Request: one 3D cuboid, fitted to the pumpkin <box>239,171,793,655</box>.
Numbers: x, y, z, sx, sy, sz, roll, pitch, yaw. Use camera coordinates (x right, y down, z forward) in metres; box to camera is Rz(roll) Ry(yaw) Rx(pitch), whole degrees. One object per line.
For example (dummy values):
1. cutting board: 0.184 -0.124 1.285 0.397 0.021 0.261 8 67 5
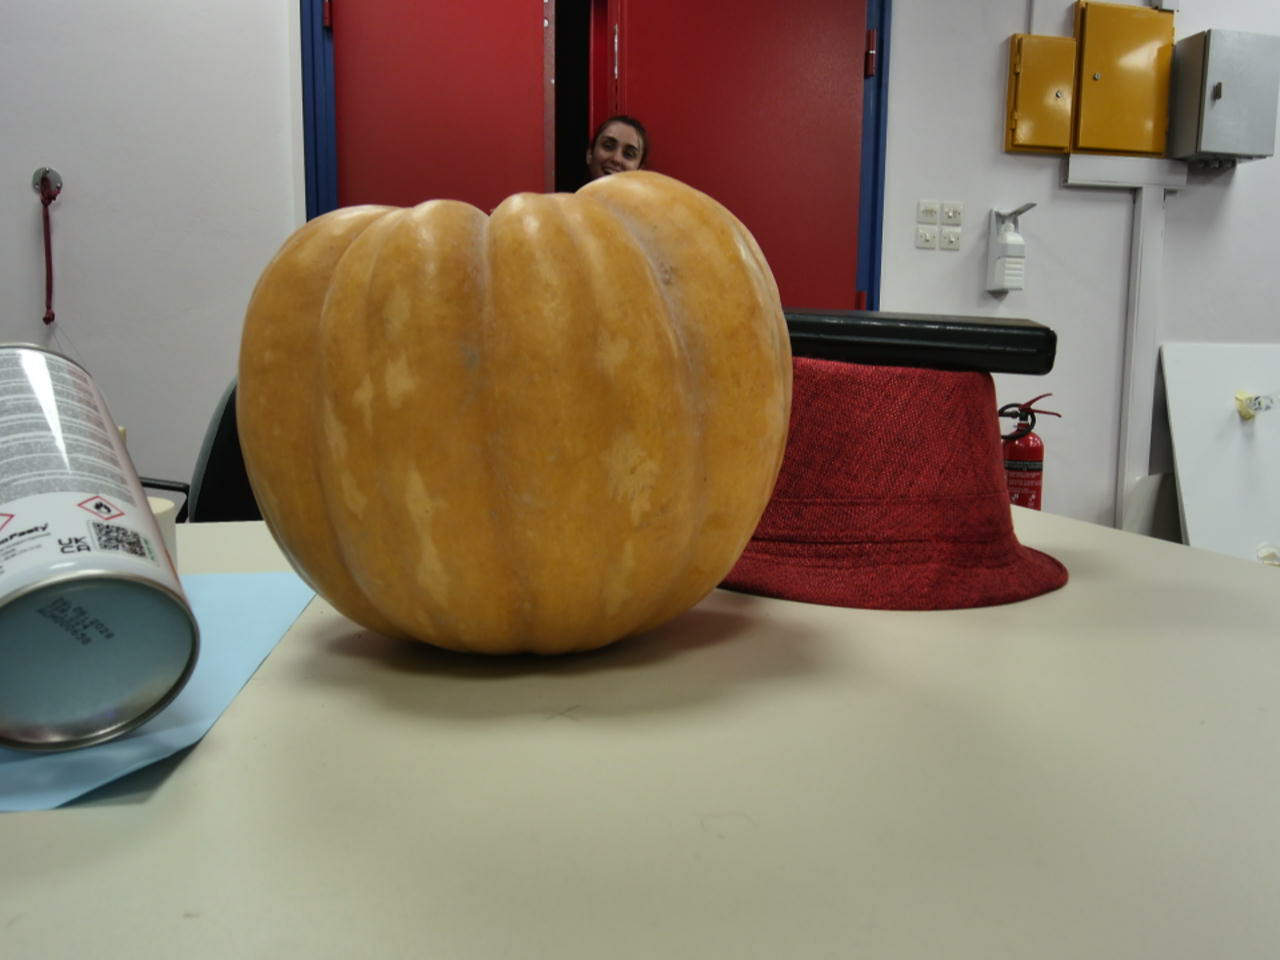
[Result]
1. pumpkin: -0.045 -0.028 0.425 0.230 0.194 0.230 0 4 0
